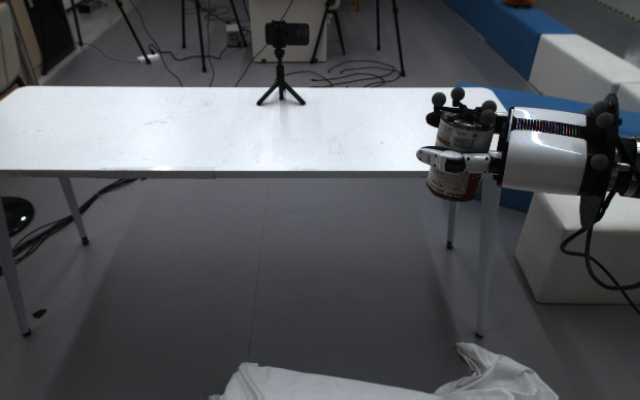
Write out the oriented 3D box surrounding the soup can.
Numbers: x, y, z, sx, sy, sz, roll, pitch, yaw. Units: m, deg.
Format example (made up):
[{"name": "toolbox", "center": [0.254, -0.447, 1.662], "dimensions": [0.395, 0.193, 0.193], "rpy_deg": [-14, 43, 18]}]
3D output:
[{"name": "soup can", "center": [0.180, -0.059, 0.619], "dimensions": [0.067, 0.101, 0.067], "rpy_deg": [3, 30, -2]}]
